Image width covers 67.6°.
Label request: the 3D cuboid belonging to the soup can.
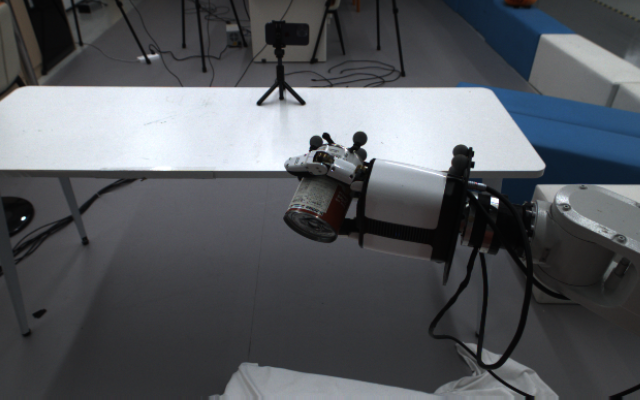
[{"bbox_3d":[0.008,-0.009,0.584,0.067,0.067,0.101,15,63,18],"label":"soup can"}]
